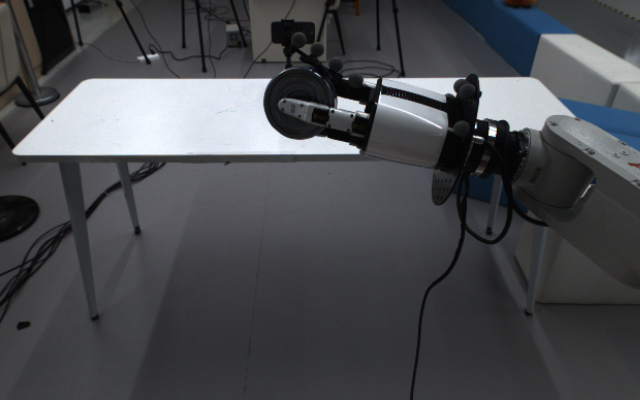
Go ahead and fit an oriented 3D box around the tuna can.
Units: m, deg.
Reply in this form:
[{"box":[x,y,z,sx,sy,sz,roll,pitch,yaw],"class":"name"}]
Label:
[{"box":[-0.022,-0.117,0.579,0.085,0.085,0.034,6,19,6],"class":"tuna can"}]
